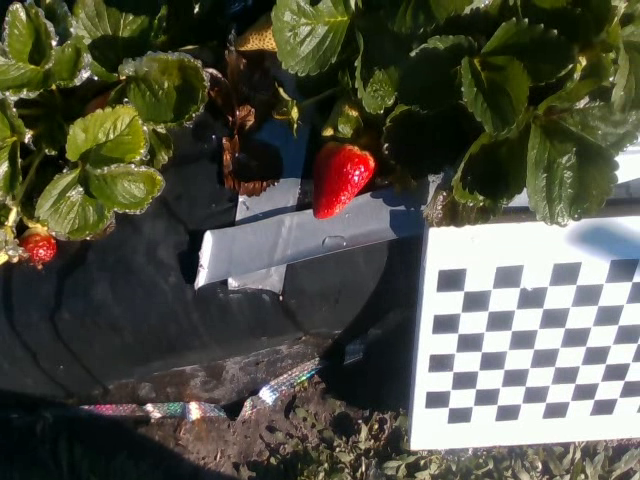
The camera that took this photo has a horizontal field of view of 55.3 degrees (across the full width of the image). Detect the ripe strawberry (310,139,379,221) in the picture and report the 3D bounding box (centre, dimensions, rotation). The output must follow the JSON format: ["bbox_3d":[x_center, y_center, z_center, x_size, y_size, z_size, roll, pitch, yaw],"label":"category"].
[{"bbox_3d":[0.019,-0.043,0.499,0.061,0.065,0.057,25,-17,-20],"label":"ripe strawberry"}]
